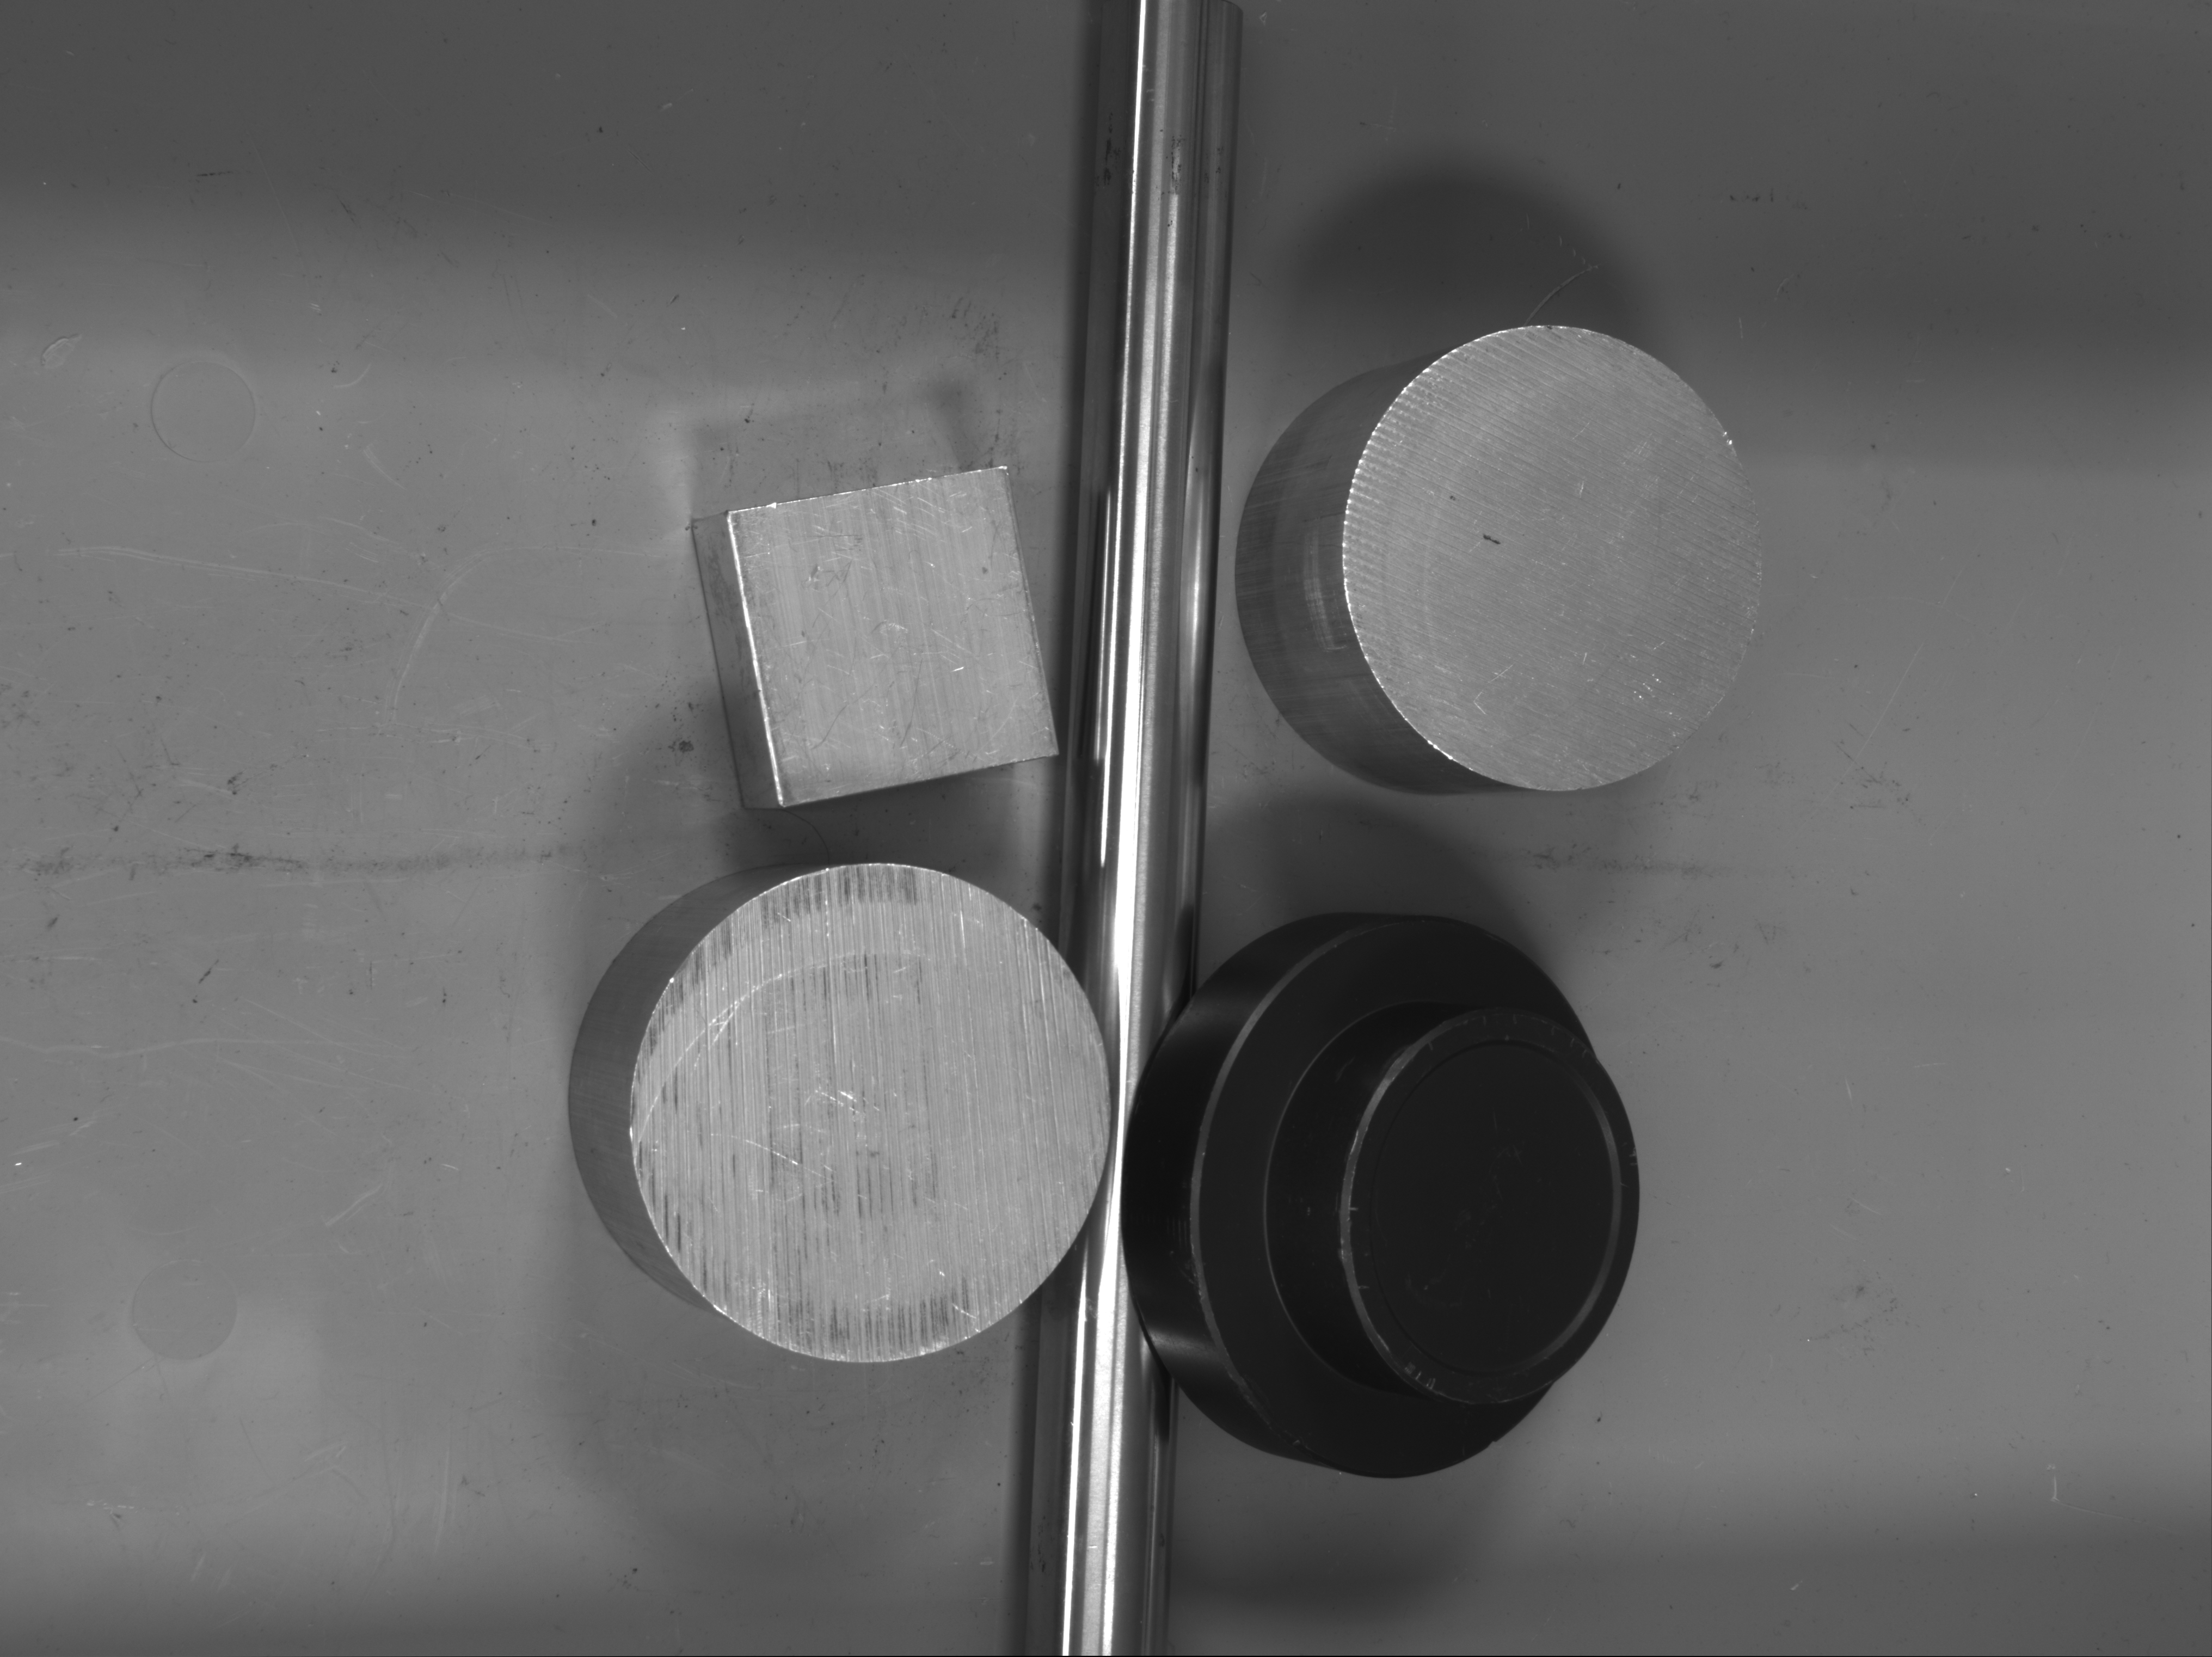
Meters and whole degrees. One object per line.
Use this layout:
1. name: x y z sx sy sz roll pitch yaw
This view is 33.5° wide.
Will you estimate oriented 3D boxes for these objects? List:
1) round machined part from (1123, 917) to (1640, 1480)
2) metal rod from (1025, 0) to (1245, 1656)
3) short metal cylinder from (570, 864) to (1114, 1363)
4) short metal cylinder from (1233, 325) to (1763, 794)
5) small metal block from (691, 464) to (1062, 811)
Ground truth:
1. round machined part: 0.054 0.064 0.640 0.098 0.042 0.098 1 89 -36
2. metal rod: 0.005 0.006 0.643 0.025 0.025 0.300 3 89 -20
3. short metal cylinder: -0.045 0.046 0.612 0.080 0.050 0.080 0 90 -20
4. short metal cylinder: 0.069 -0.046 0.653 0.080 0.050 0.080 0 90 -20
5. small metal block: -0.039 -0.032 0.627 0.050 0.025 0.050 -12 94 -19
